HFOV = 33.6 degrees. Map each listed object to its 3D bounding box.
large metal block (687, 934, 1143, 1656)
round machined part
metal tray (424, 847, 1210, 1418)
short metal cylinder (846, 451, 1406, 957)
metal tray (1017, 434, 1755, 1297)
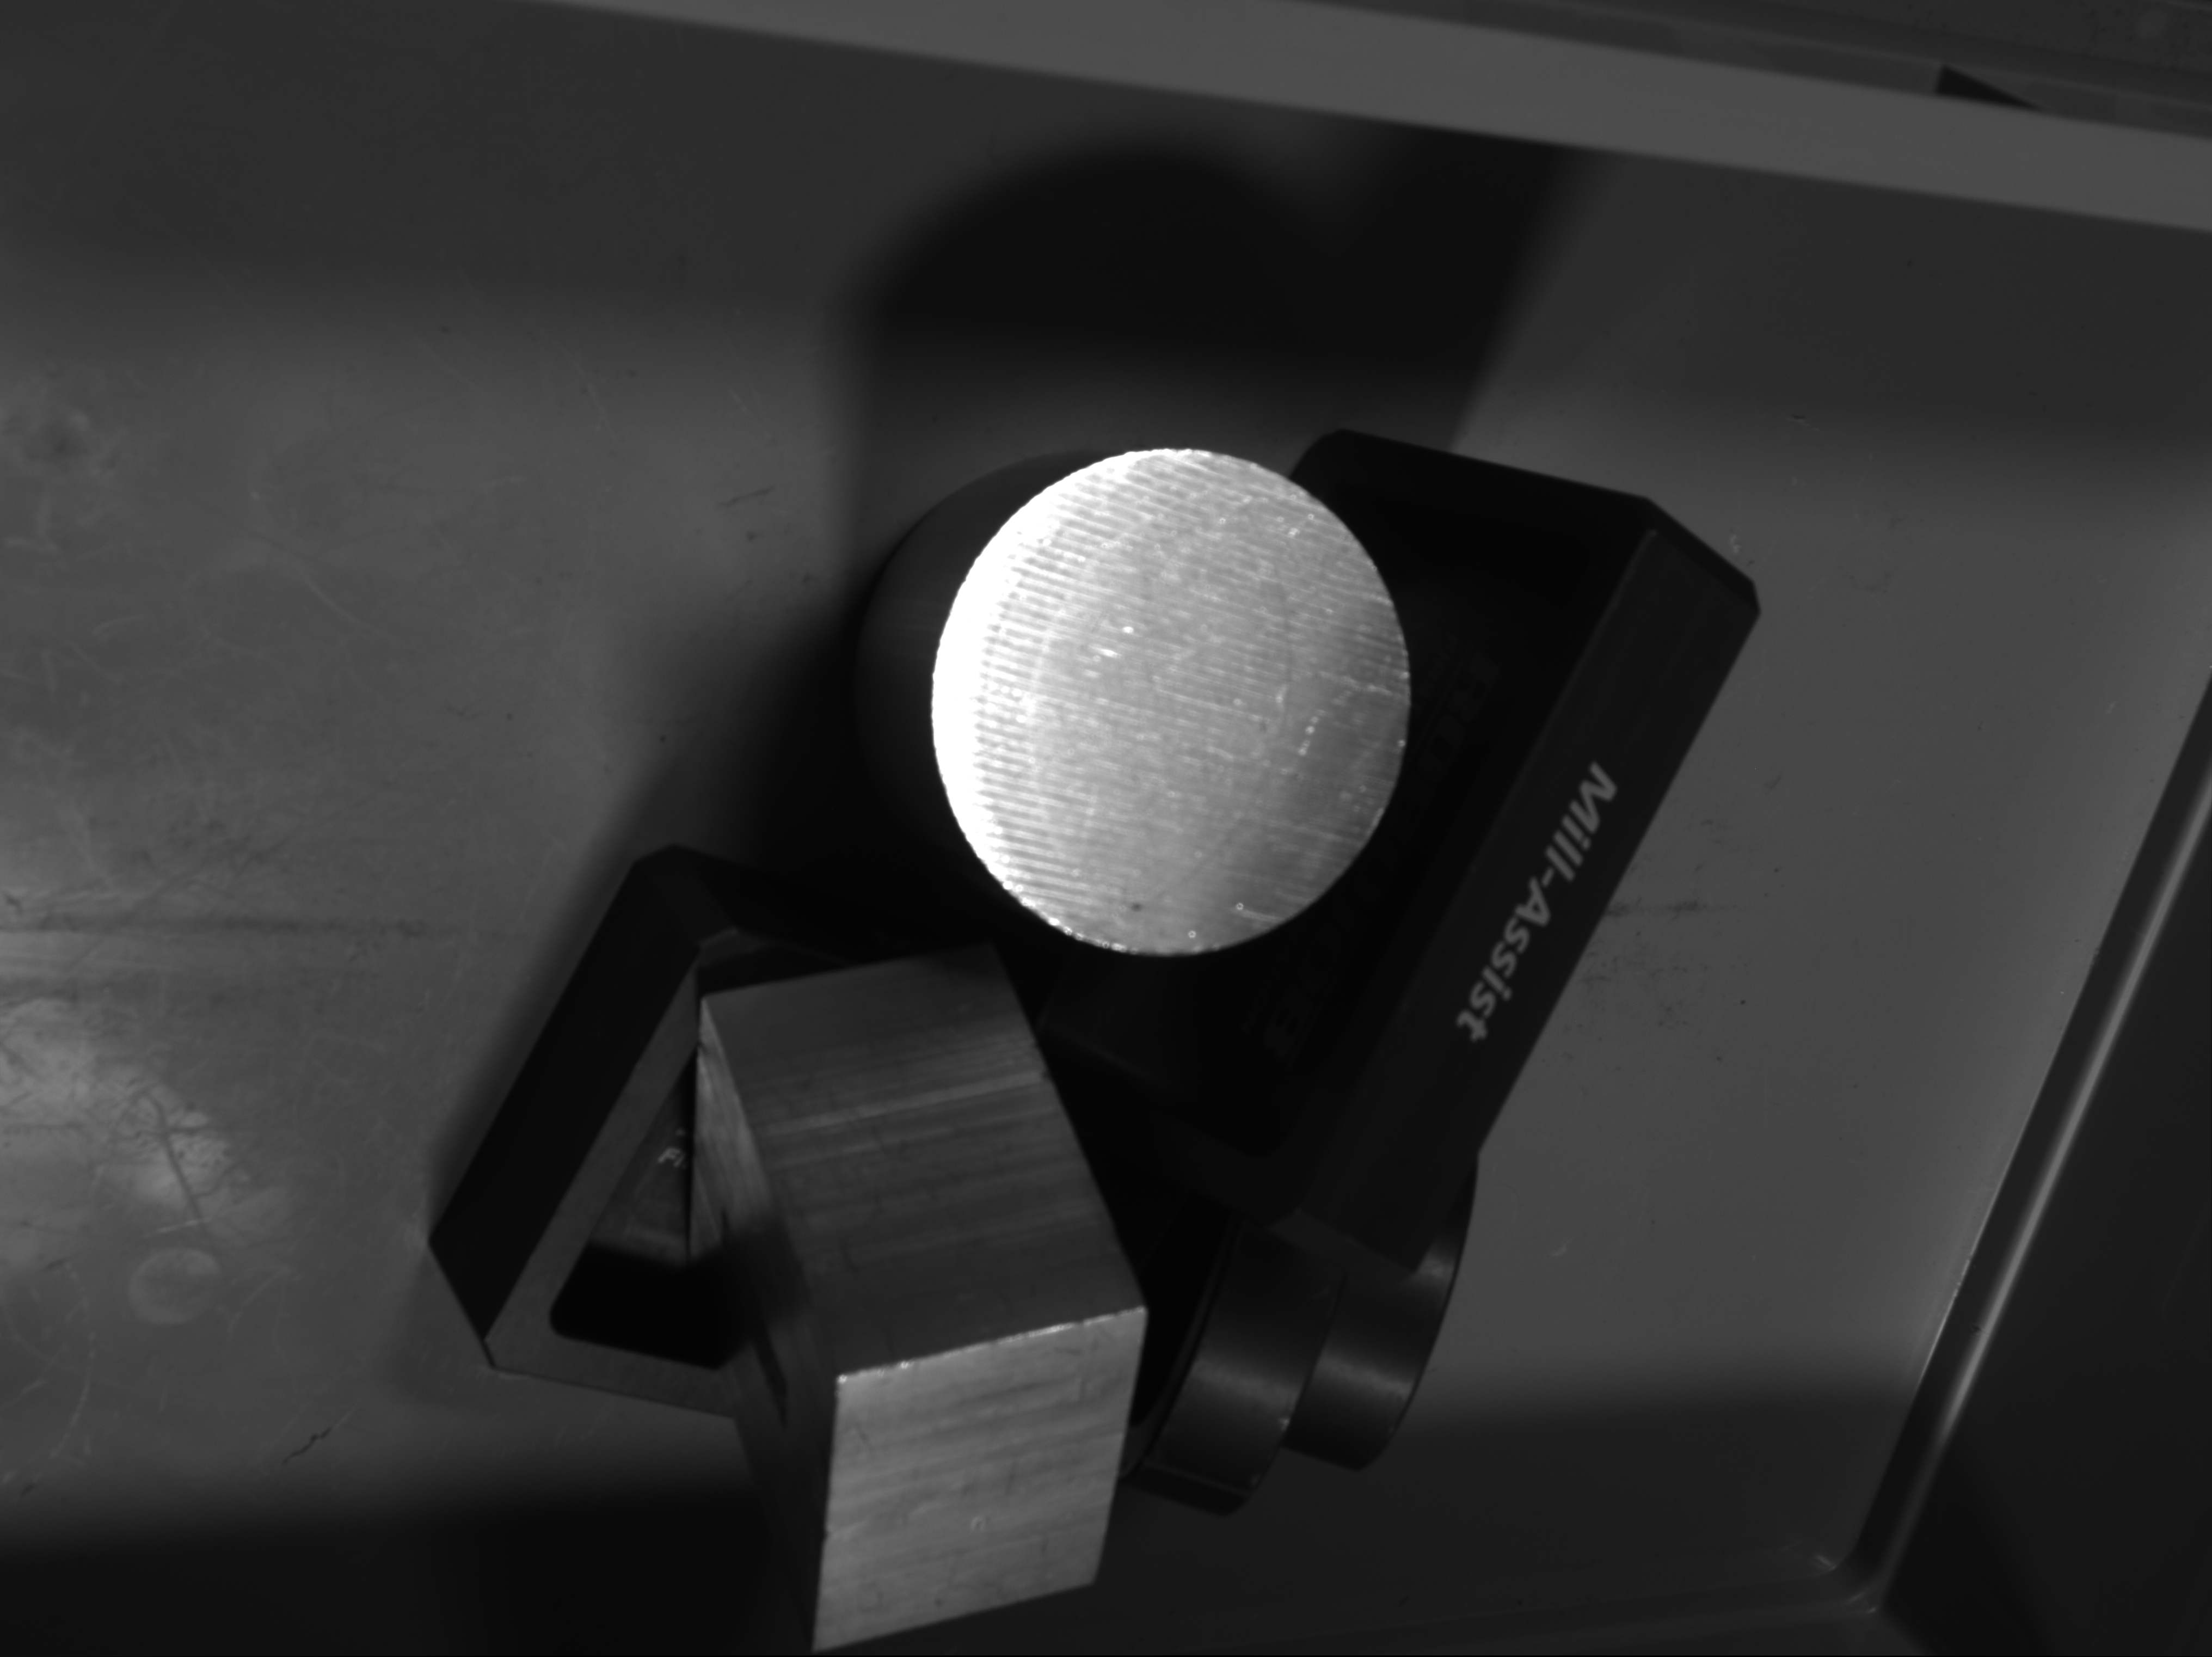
[{"bbox_3d":[-0.035,0.078,0.611,0.050,0.080,0.080,-10,139,-18],"label":"large metal block"},{"bbox_3d":[0.036,0.079,0.667,0.042,0.098,0.098,19,111,-5],"label":"round machined part"},{"bbox_3d":[-0.044,0.064,0.658,0.130,0.030,0.090,19,107,-37],"label":"metal tray"},{"bbox_3d":[0.002,-0.022,0.602,0.080,0.050,0.080,-2,96,-19],"label":"short metal cylinder"},{"bbox_3d":[0.042,0.003,0.613,0.030,0.090,0.130,31,84,-36],"label":"metal tray"}]
